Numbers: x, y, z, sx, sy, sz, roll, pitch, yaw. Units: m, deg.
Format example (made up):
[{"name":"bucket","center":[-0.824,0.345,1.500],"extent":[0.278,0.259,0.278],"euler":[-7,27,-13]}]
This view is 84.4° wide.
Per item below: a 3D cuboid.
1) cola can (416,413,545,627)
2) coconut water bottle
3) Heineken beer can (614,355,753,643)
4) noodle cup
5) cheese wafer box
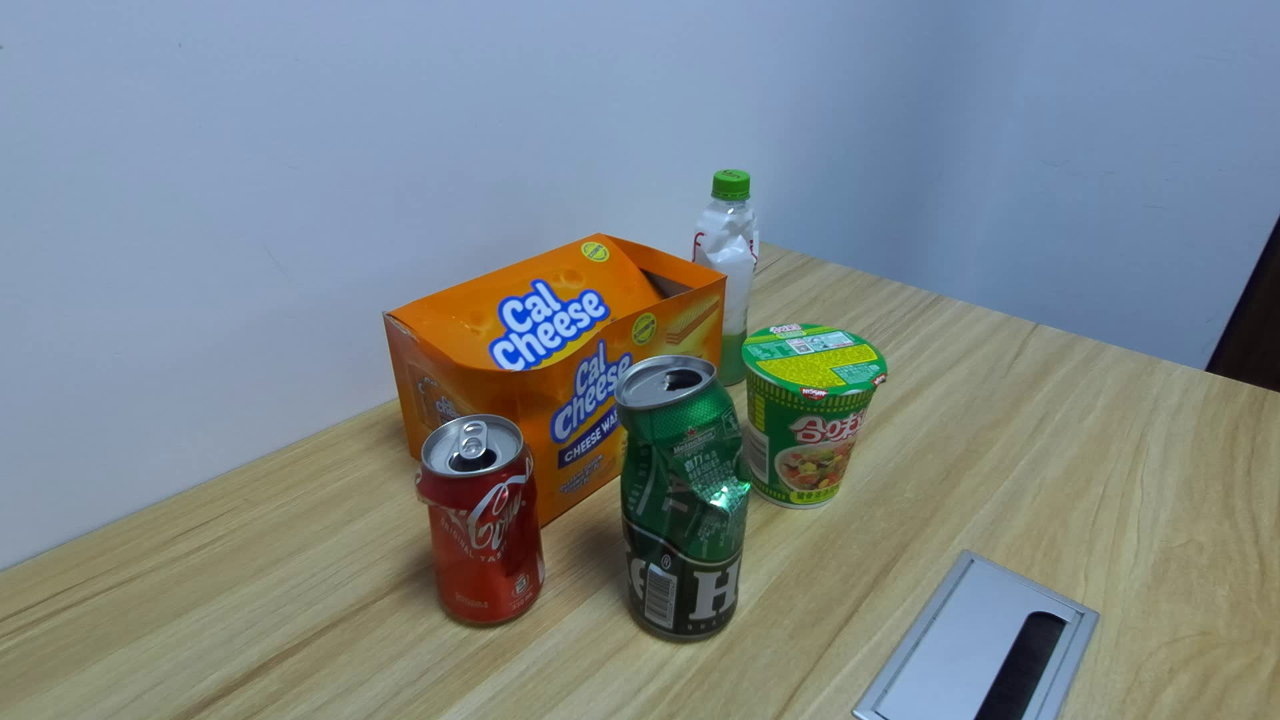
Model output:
[{"name":"cola can","center":[-0.092,0.092,0.414],"extent":[0.066,0.117,0.066],"euler":[19,35,29]},{"name":"coconut water bottle","center":[0.074,-0.069,0.620],"extent":[0.069,0.186,0.069],"euler":[3,21,-1]},{"name":"Heineken beer can","center":[0.026,0.079,0.398],"extent":[0.078,0.159,0.067],"euler":[3,28,18]},{"name":"noodle cup","center":[0.116,0.043,0.506],"extent":[0.097,0.110,0.097],"euler":[1,31,-1]},{"name":"cheese wafer box","center":[-0.056,0.007,0.553],"extent":[0.151,0.132,0.231],"euler":[25,37,34]}]
